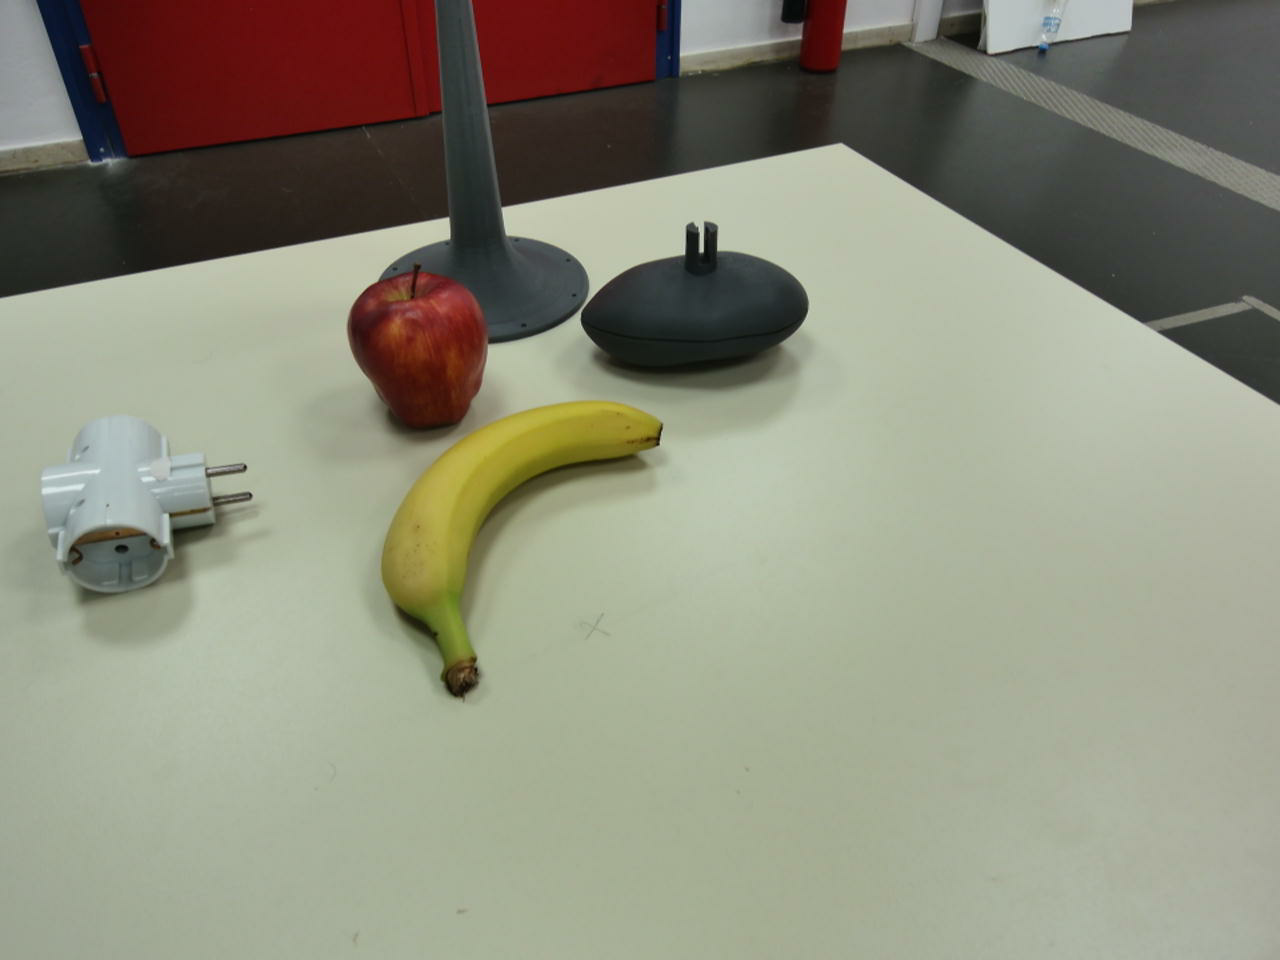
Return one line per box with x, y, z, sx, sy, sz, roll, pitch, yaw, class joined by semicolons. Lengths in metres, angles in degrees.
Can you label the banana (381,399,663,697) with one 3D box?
-0.070;0.012;0.503;0.094;0.041;0.196;19;42;22;banana
